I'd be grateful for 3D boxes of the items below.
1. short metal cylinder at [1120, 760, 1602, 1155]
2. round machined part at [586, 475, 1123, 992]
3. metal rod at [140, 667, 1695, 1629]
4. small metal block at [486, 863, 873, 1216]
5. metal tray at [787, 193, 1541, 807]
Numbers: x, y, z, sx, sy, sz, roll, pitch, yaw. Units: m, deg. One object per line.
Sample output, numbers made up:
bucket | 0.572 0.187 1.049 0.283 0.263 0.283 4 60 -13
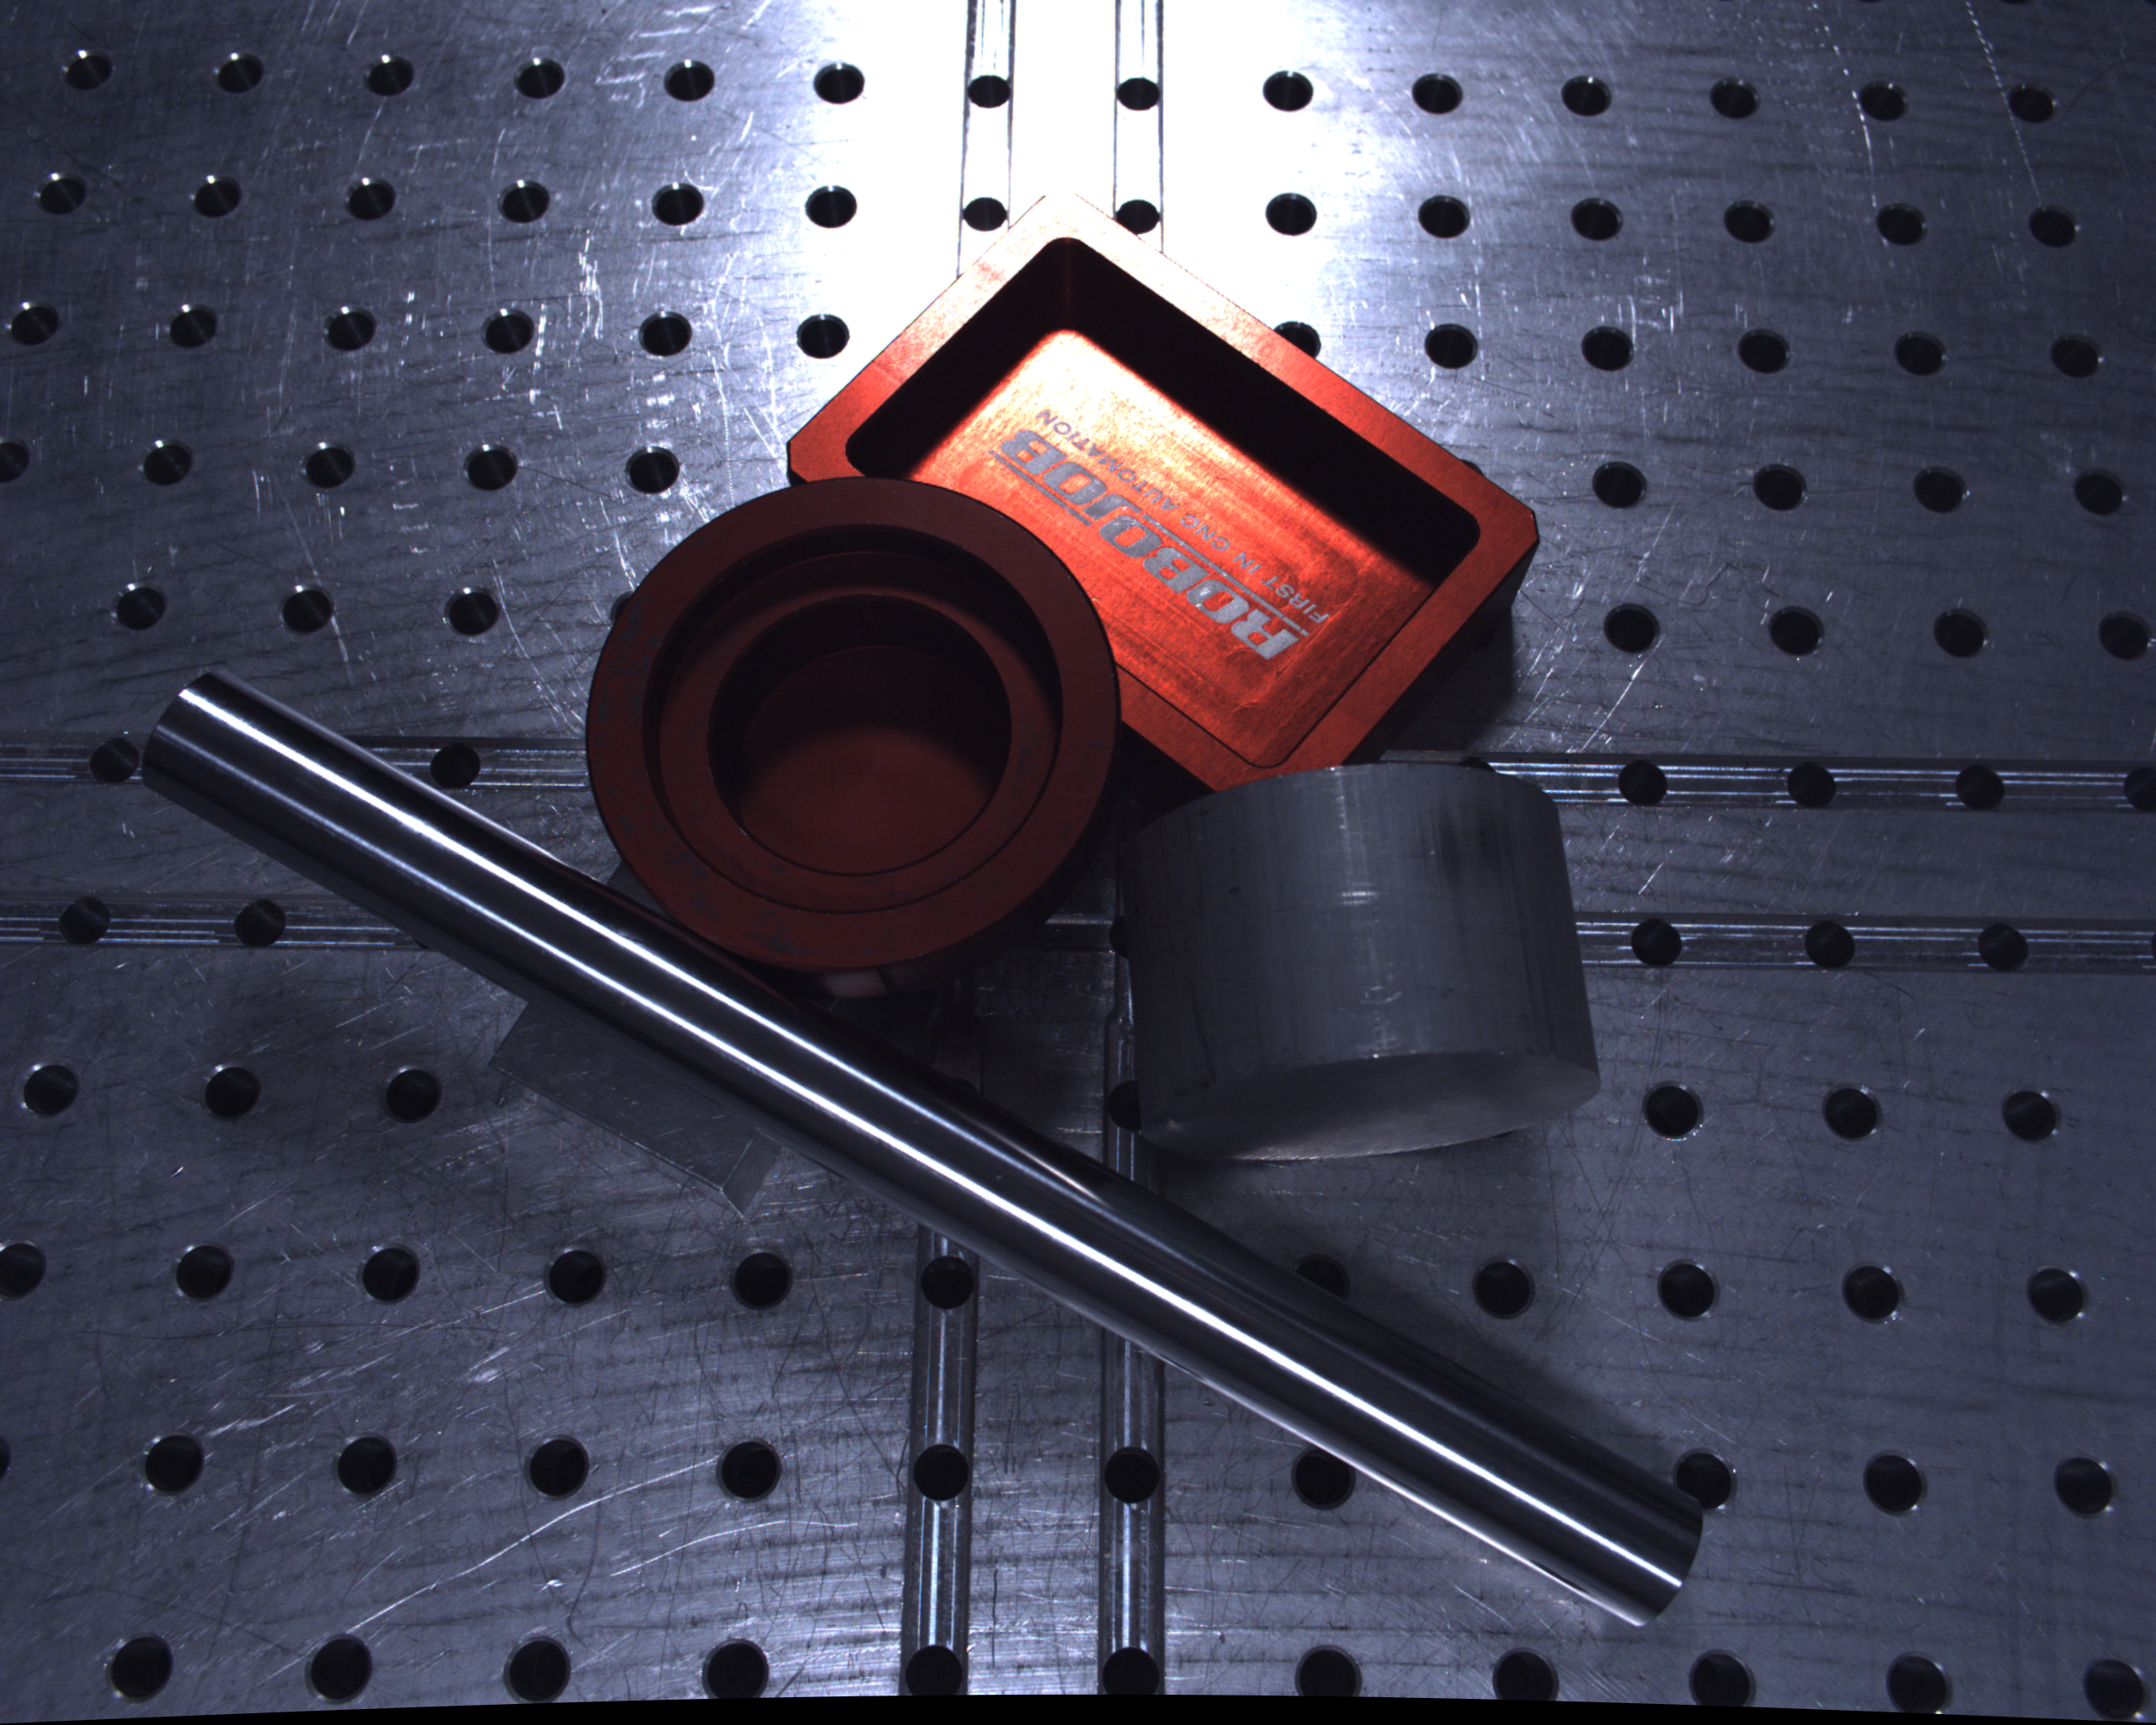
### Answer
short metal cylinder | 0.049 0.020 0.374 0.081 0.080 0.050 -4 70 -2
round machined part | -0.041 -0.022 0.402 0.099 0.042 0.098 0 70 1
metal rod | -0.029 0.050 0.371 0.301 0.025 0.025 30 72 1
small metal block | -0.075 0.032 0.399 0.050 0.025 0.050 27 72 9
metal tray | 0.017 -0.070 0.434 0.130 0.030 0.090 38 74 12
